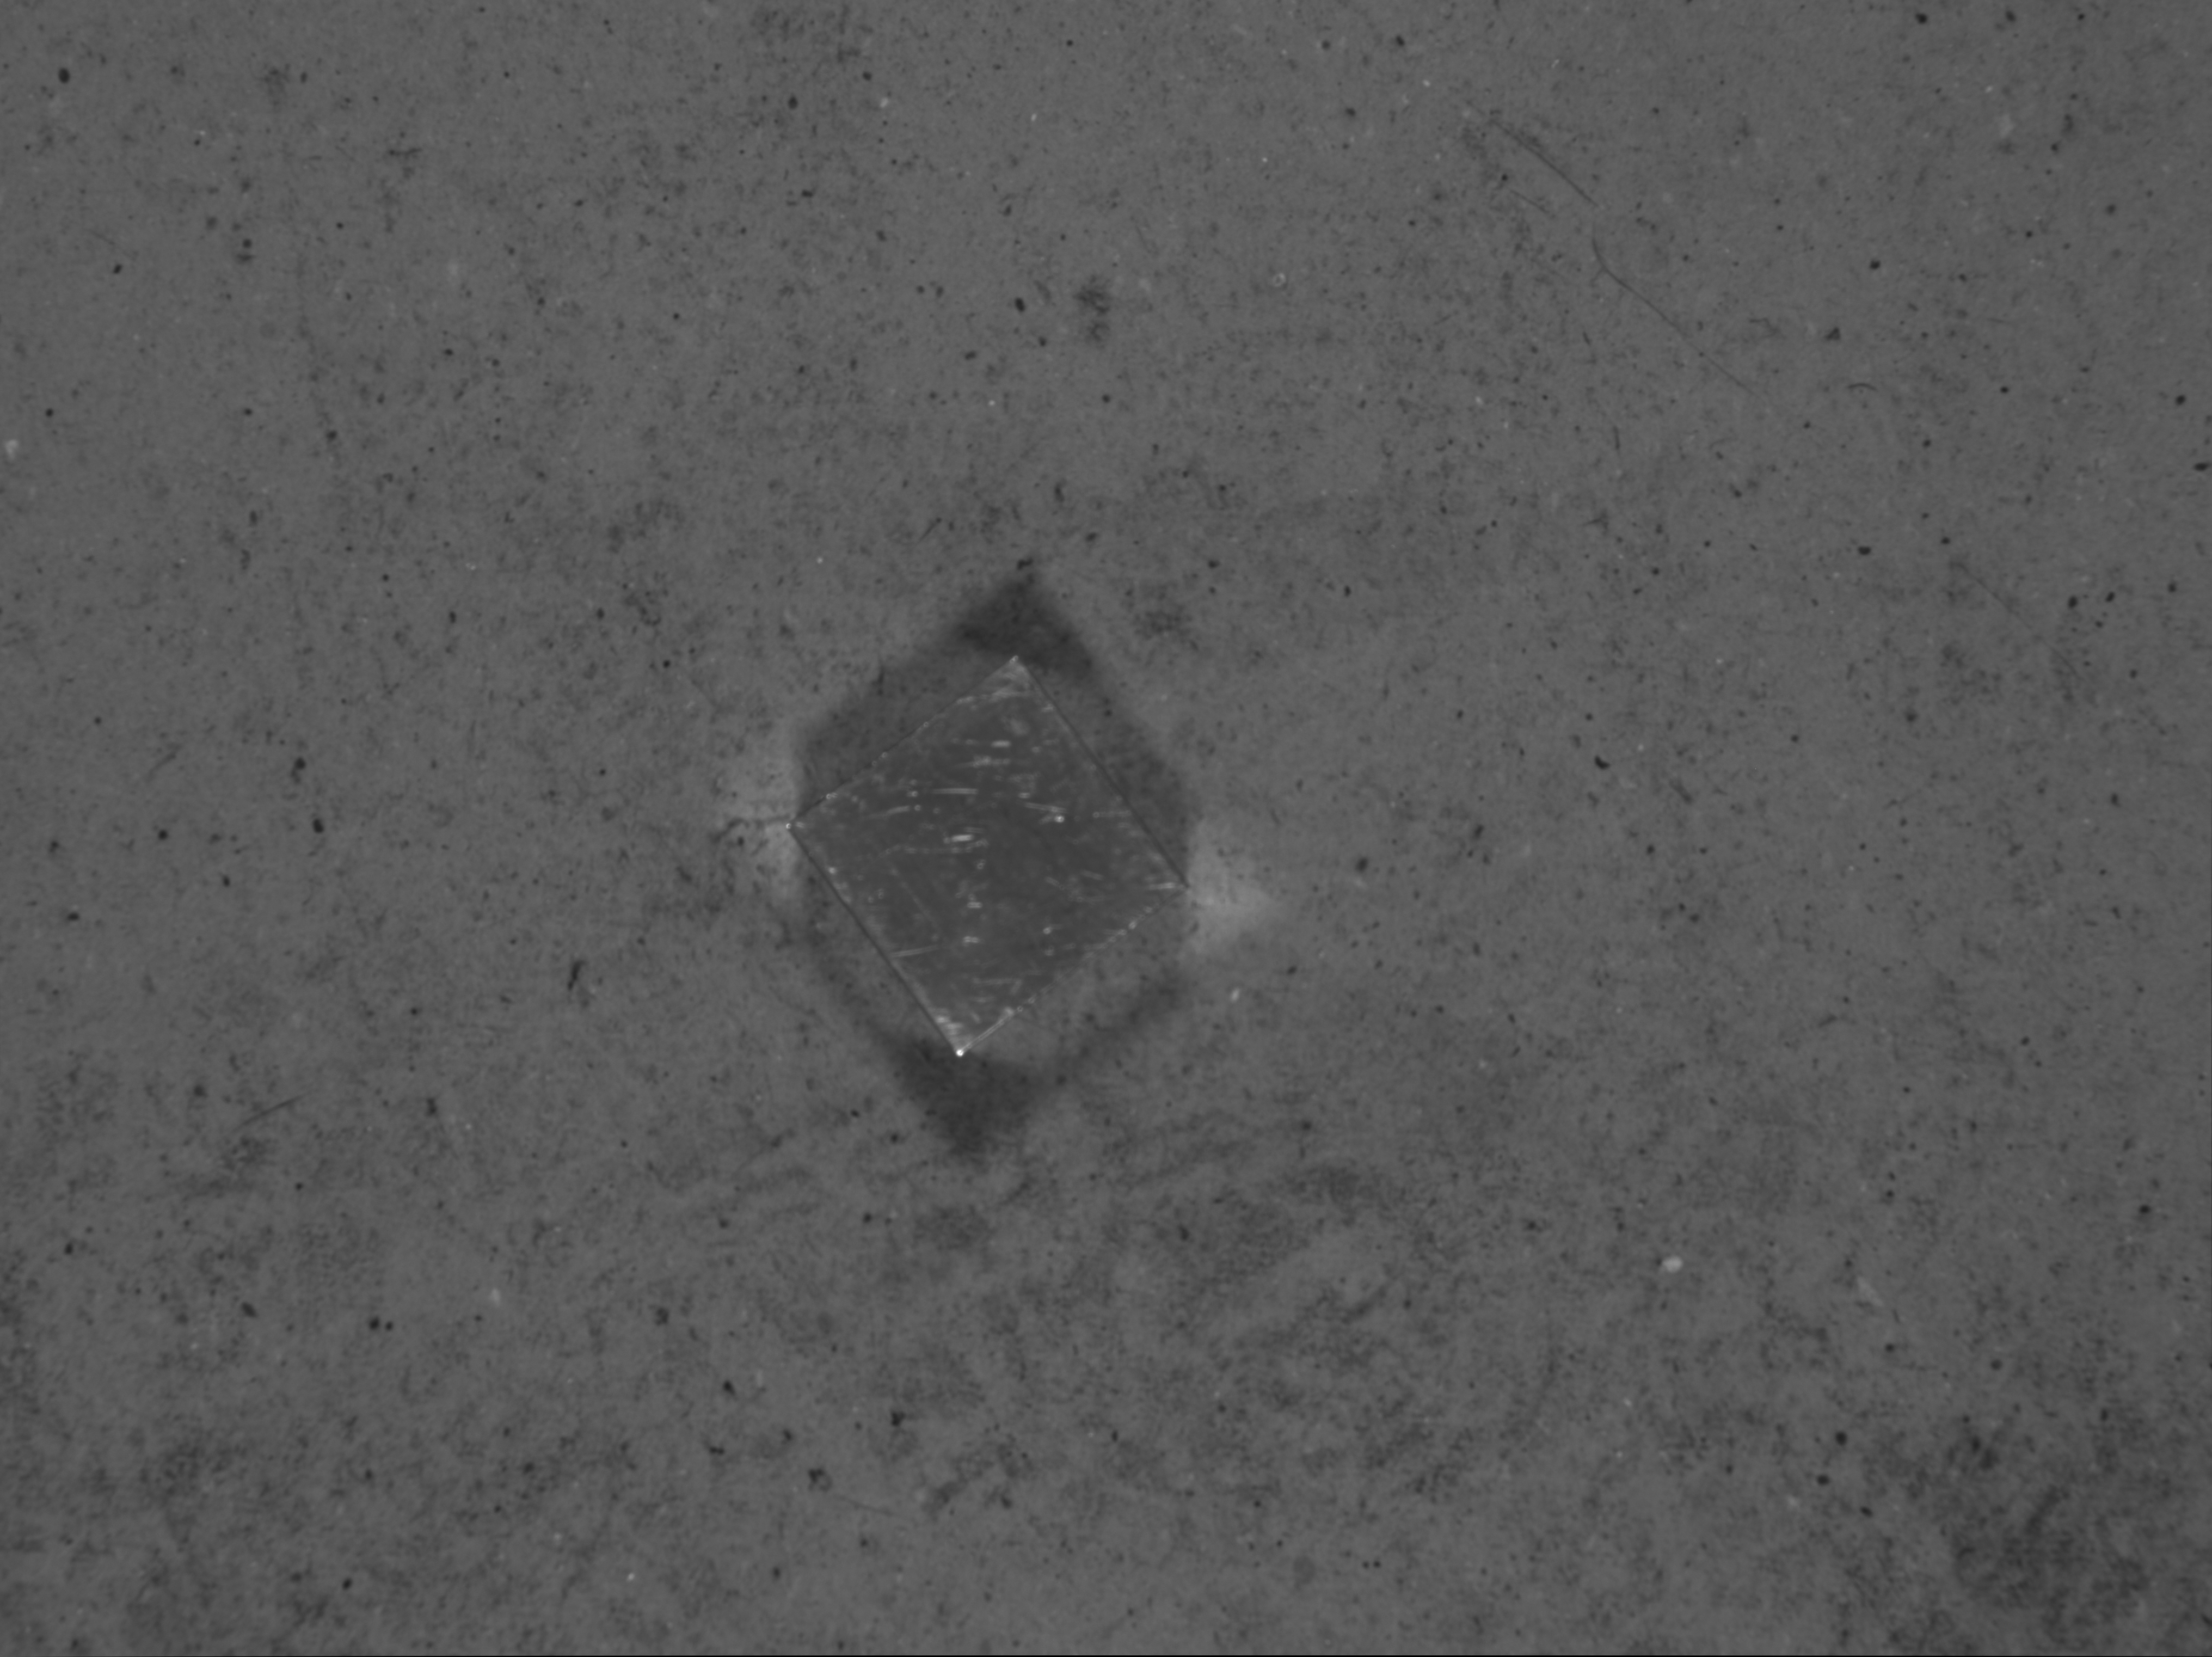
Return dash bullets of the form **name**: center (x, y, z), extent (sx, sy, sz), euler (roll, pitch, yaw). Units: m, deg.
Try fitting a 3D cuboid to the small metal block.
- **small metal block**: center (-0.021, 0.005, 0.645), extent (0.050, 0.025, 0.050), euler (-37, 90, 0)
